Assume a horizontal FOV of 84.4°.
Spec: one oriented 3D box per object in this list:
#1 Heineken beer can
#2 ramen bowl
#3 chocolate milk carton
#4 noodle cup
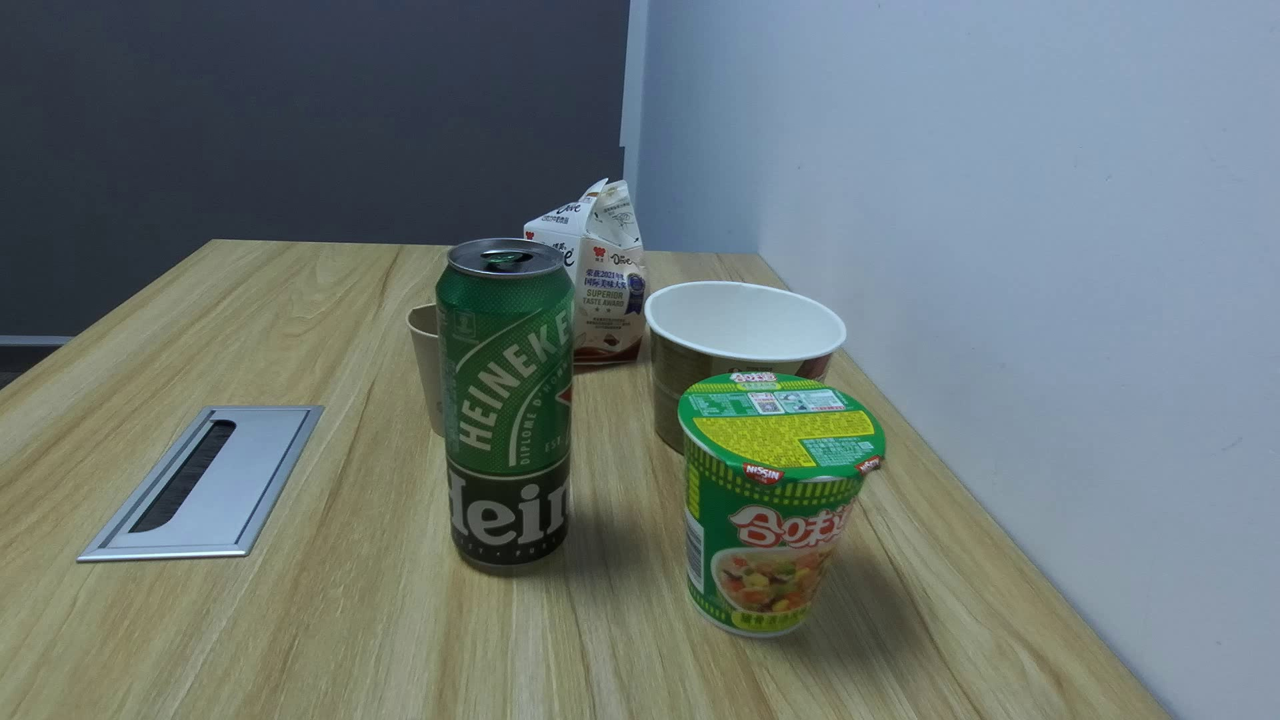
[{"bbox_3d":[-0.068,0.027,0.370,0.067,0.169,0.067,4,25,-1],"label":"Heineken beer can"},{"bbox_3d":[0.069,0.009,0.508,0.140,0.095,0.140,3,27,-1],"label":"ramen bowl"},{"bbox_3d":[-0.047,-0.074,0.610,0.077,0.155,0.089,-10,15,-36],"label":"chocolate milk carton"},{"bbox_3d":[0.062,0.076,0.359,0.097,0.110,0.097,4,27,-2],"label":"noodle cup"}]
